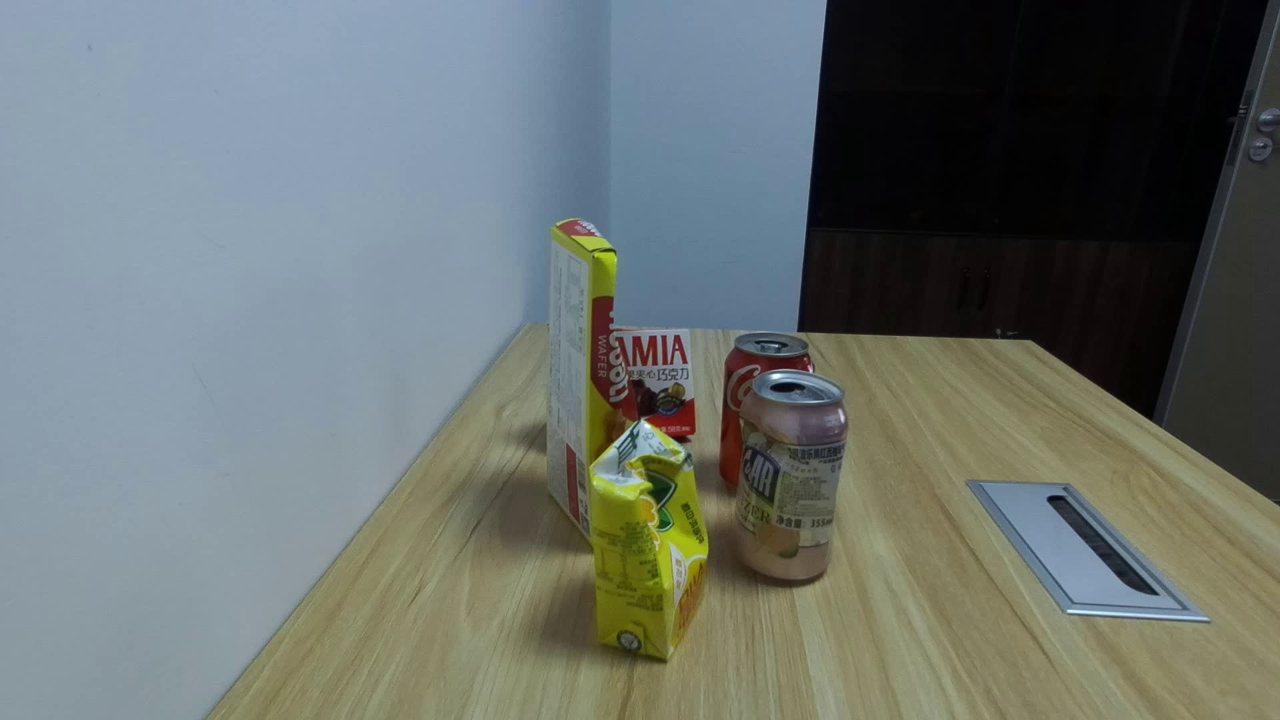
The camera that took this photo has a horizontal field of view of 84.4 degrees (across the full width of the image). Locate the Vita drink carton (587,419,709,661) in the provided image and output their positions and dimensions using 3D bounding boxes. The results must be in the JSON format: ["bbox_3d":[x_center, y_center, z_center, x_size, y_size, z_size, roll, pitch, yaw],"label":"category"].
[{"bbox_3d":[0.008,0.096,0.384,0.046,0.110,0.071,7,21,22],"label":"Vita drink carton"}]

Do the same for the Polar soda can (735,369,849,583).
[{"bbox_3d":[0.093,0.072,0.443,0.067,0.122,0.074,10,21,21],"label":"Polar soda can"}]

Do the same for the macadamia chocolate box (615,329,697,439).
[{"bbox_3d":[-0.015,0.017,0.607,0.127,0.112,0.056,-5,19,-14],"label":"macadamia chocolate box"}]

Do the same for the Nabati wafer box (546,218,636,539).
[{"bbox_3d":[-0.032,0.017,0.469,0.043,0.205,0.113,-10,22,-25],"label":"Nabati wafer box"}]

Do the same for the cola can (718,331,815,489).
[{"bbox_3d":[0.095,0.040,0.538,0.068,0.120,0.068,2,18,0],"label":"cola can"}]
